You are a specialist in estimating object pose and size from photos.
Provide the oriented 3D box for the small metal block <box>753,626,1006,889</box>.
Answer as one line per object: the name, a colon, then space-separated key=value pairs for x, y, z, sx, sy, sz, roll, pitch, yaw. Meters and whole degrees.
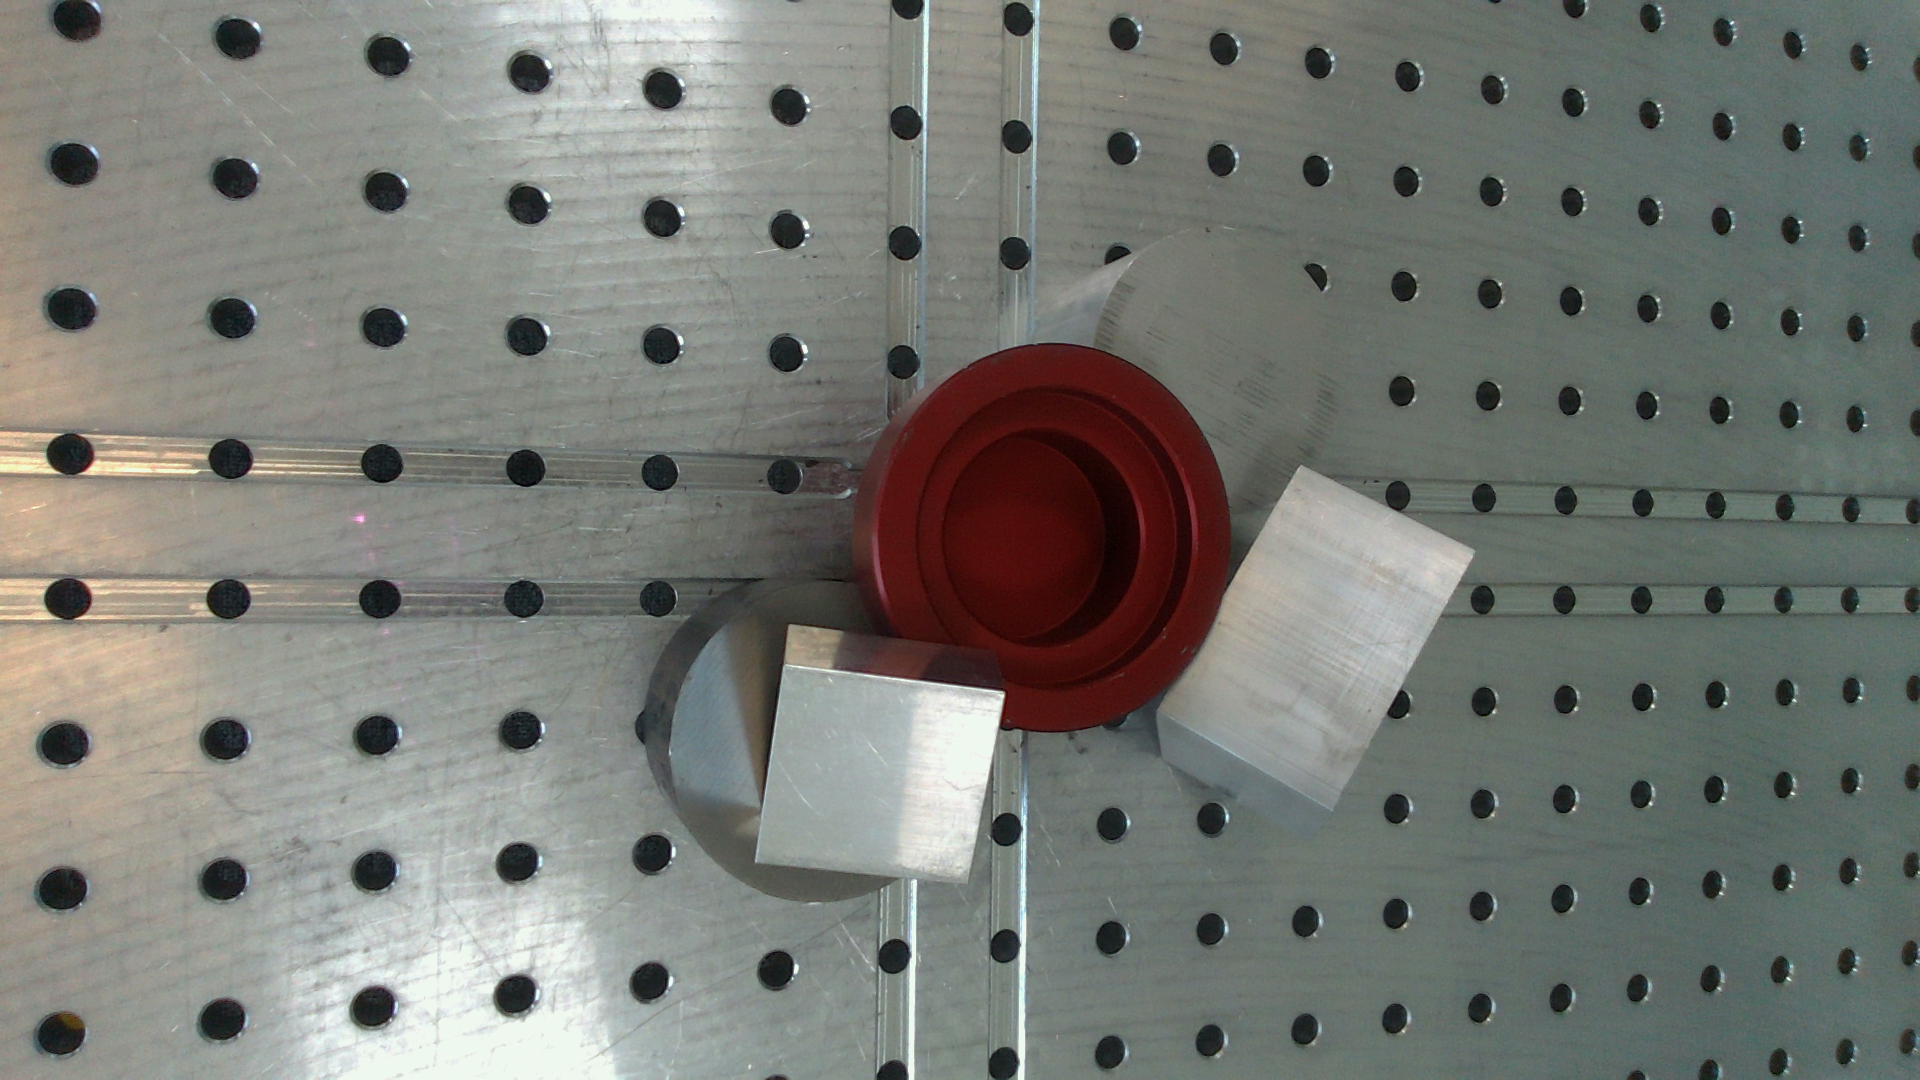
small metal block: x=-0.020 y=0.051 z=0.322 sx=0.050 sy=0.025 sz=0.050 roll=8 pitch=107 yaw=-8

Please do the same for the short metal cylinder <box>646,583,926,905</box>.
short metal cylinder: x=-0.041 y=0.051 z=0.367 sx=0.080 sy=0.050 sz=0.080 roll=0 pitch=90 yaw=-20

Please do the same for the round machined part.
round machined part: x=0.018 y=-0.001 z=0.362 sx=0.098 sy=0.042 sz=0.098 roll=0 pitch=90 yaw=-20

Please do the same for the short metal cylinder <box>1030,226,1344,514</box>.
short metal cylinder: x=0.065 y=-0.047 z=0.406 sx=0.080 sy=0.050 sz=0.080 roll=0 pitch=90 yaw=-20

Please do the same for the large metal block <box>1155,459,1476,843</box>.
large metal block: x=0.099 y=0.035 z=0.396 sx=0.050 sy=0.080 sz=0.080 roll=29 pitch=79 yaw=17
